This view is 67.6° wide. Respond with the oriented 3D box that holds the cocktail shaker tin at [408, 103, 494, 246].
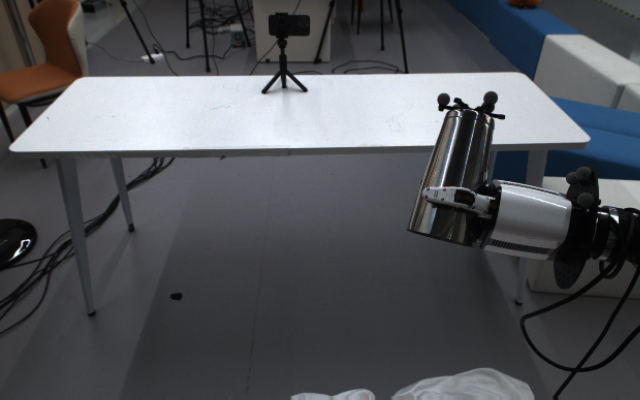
[{"bbox_3d":[0.181,-0.030,0.652,0.093,0.170,0.093,15,-4,1],"label":"cocktail shaker tin"}]
